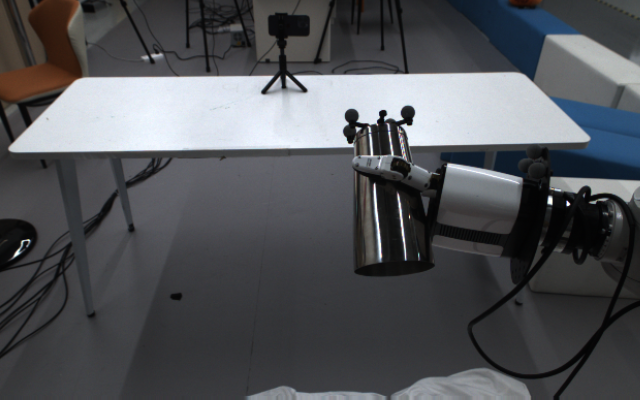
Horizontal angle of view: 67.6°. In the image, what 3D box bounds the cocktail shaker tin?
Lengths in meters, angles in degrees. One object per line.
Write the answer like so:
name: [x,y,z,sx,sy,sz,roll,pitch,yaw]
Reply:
cocktail shaker tin: [0.081,-0.001,0.578,0.093,0.093,0.170,-2,71,-6]
